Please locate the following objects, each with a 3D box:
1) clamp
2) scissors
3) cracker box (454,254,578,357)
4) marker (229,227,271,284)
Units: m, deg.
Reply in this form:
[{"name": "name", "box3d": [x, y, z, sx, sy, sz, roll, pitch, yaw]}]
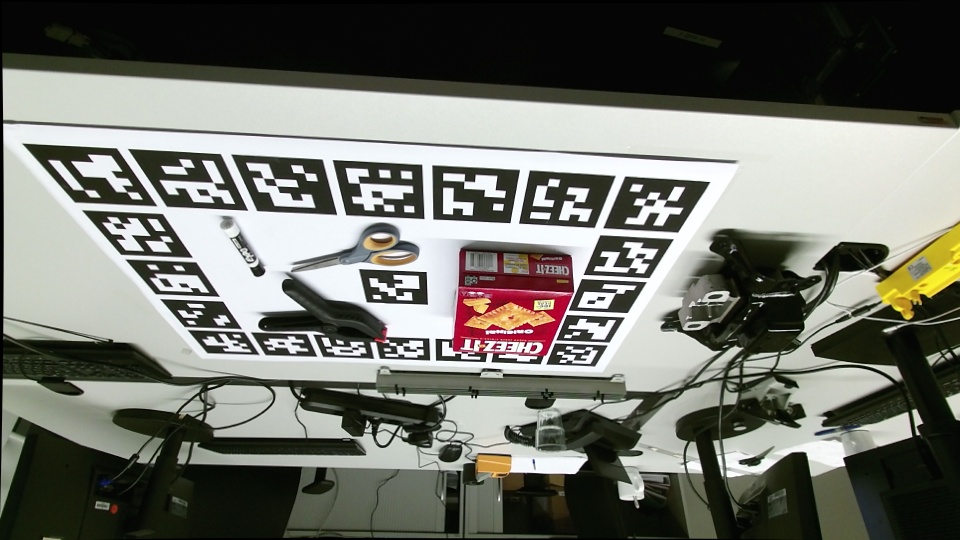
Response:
[{"name": "clamp", "box3d": [-0.244, 0.089, 0.927, 0.204, 0.036, 0.165, 21, 142, -27]}, {"name": "scissors", "box3d": [-0.181, -0.010, 0.771, 0.203, 0.016, 0.088, -13, 145, 22]}, {"name": "cracker box", "box3d": [0.046, 0.065, 0.837, 0.165, 0.071, 0.214, 3, 146, -4]}, {"name": "marker", "box3d": [-0.324, -0.017, 0.758, 0.020, 0.019, 0.121, 0, 147, 0]}]
